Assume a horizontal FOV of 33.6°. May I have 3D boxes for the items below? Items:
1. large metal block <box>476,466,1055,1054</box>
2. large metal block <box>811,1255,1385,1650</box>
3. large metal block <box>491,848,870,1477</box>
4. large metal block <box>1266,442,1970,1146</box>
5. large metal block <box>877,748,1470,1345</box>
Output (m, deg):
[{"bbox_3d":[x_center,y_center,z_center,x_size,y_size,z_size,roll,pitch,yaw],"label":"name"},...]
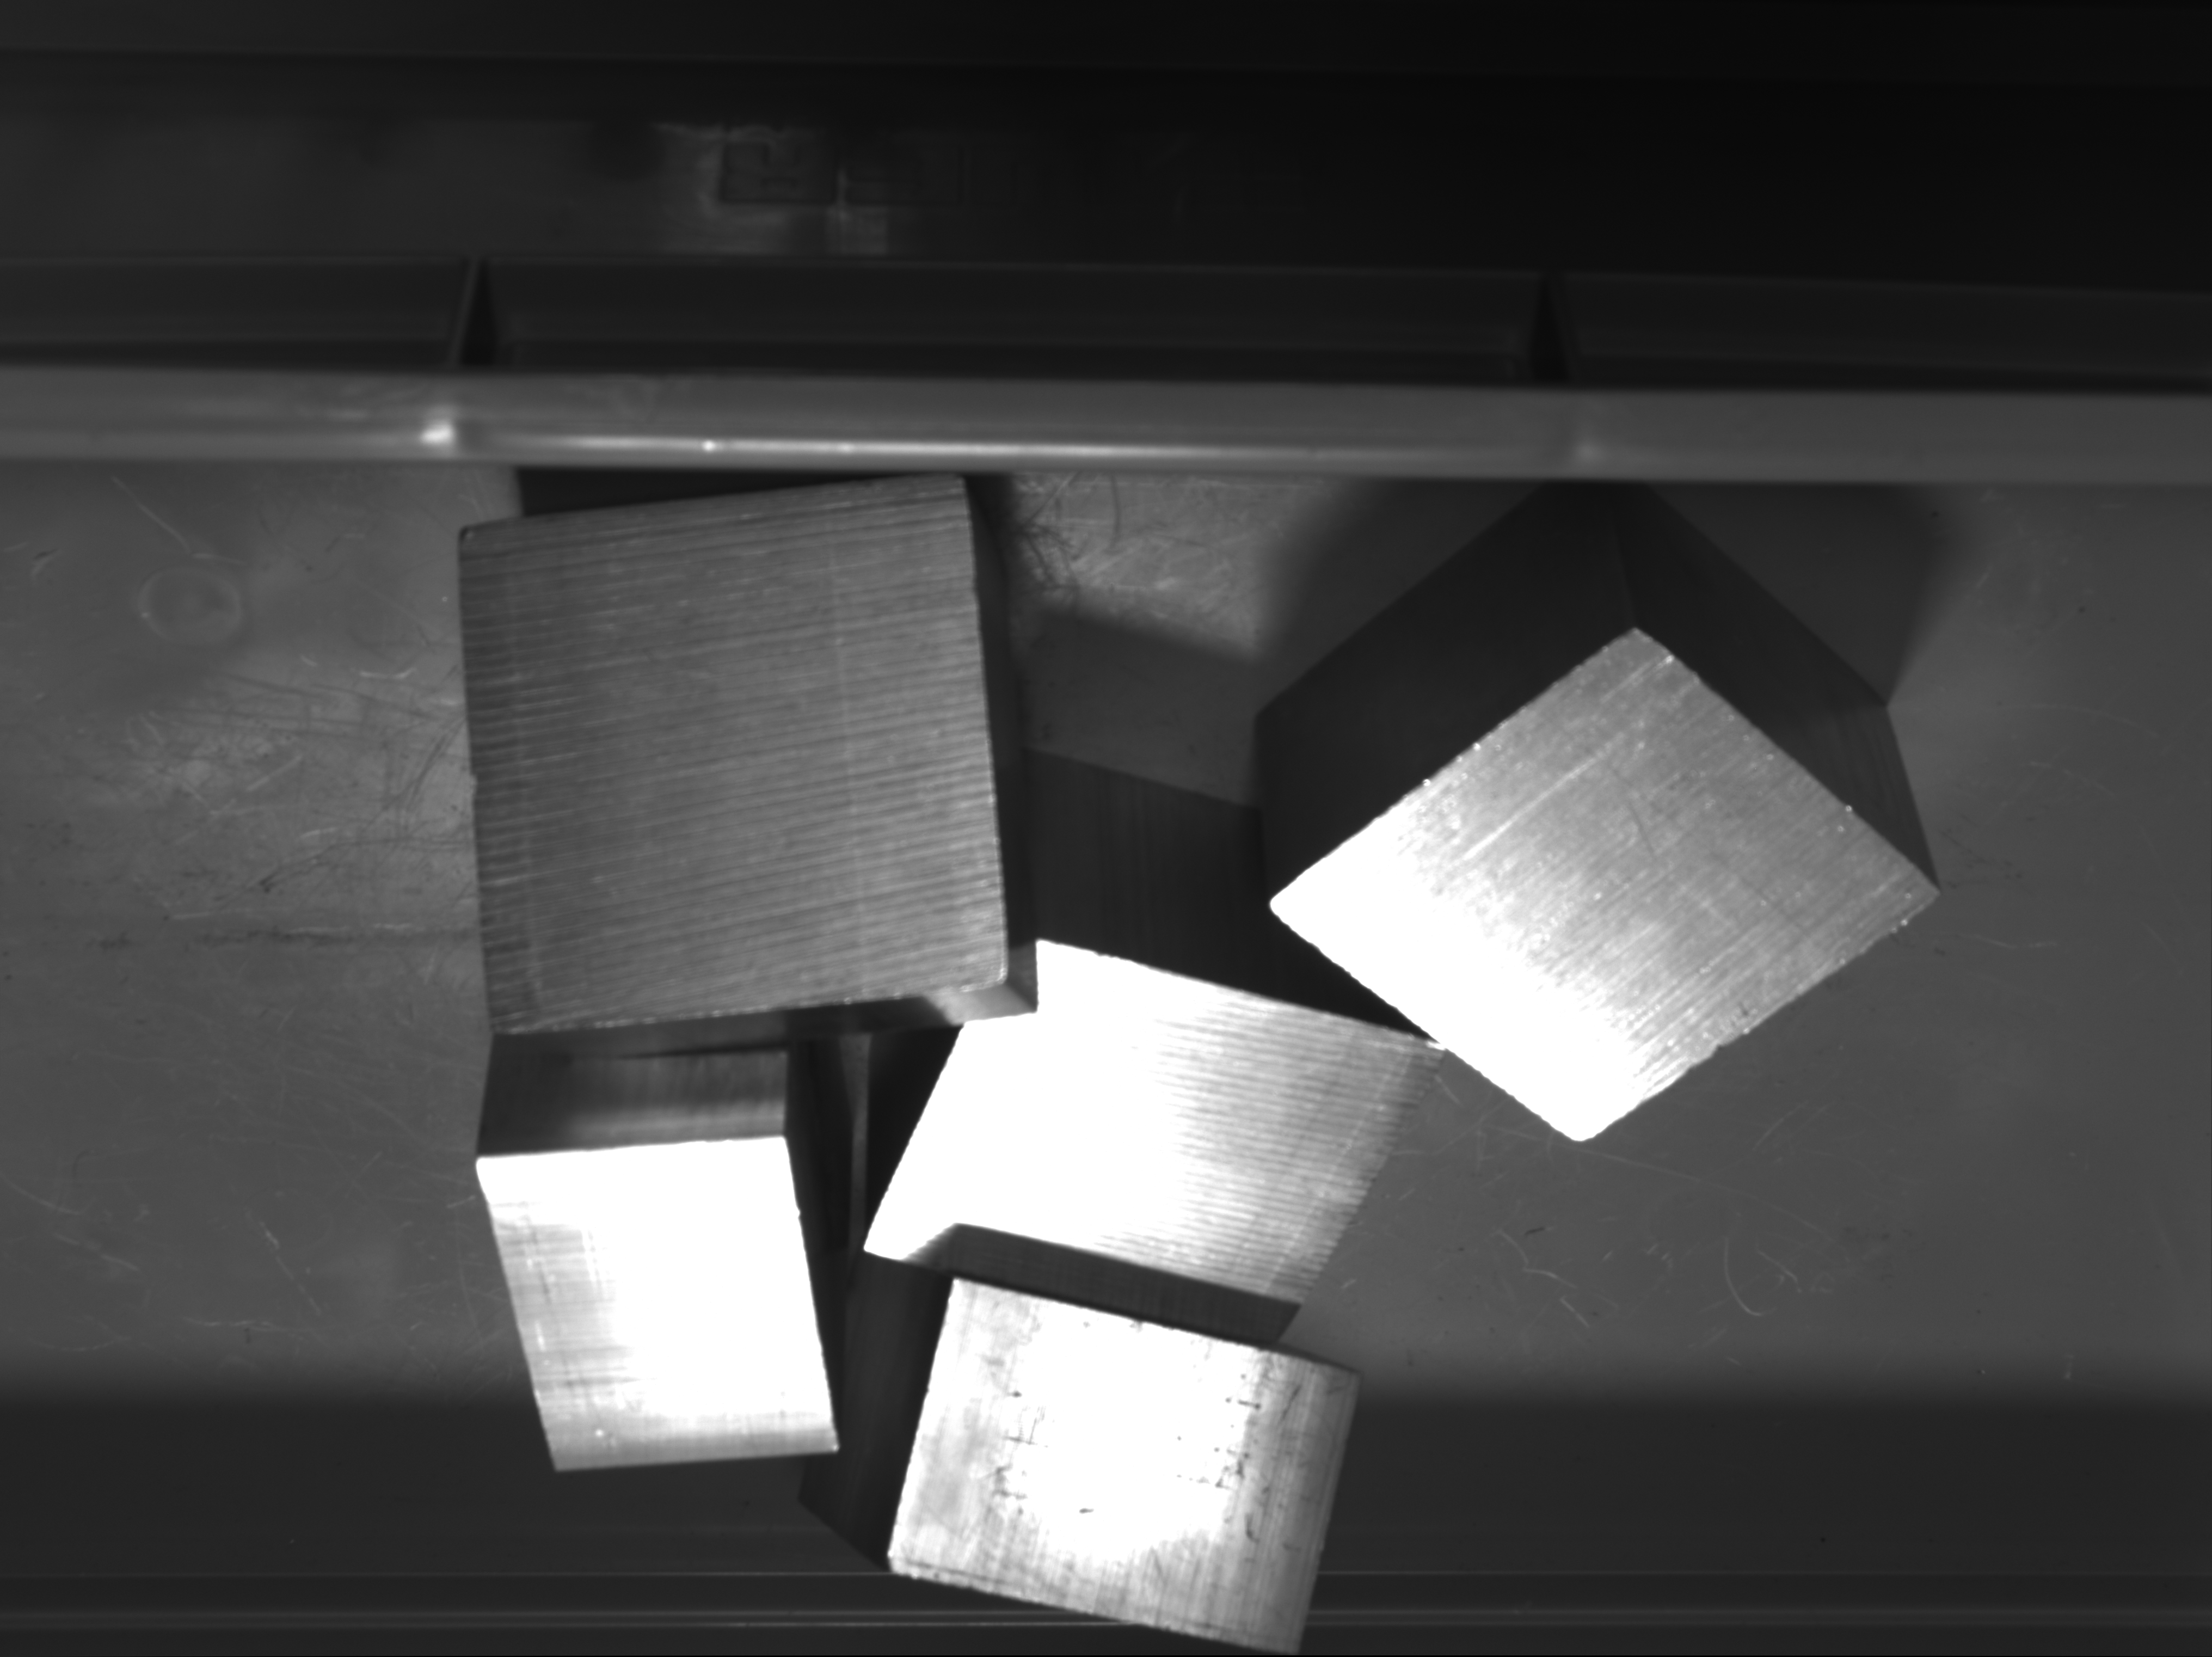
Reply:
[{"bbox_3d":[-0.053,-0.009,0.584,0.080,0.080,0.050,-5,172,4],"label":"large metal block"},{"bbox_3d":[-0.004,0.114,0.688,0.080,0.080,0.050,15,86,-15],"label":"large metal block"},{"bbox_3d":[-0.072,0.056,0.646,0.050,0.080,0.080,-4,130,2],"label":"large metal block"},{"bbox_3d":[0.085,-0.004,0.620,0.080,0.050,0.080,37,120,-28],"label":"large metal block"},{"bbox_3d":[0.010,0.040,0.655,0.080,0.050,0.080,15,128,-14],"label":"large metal block"}]
